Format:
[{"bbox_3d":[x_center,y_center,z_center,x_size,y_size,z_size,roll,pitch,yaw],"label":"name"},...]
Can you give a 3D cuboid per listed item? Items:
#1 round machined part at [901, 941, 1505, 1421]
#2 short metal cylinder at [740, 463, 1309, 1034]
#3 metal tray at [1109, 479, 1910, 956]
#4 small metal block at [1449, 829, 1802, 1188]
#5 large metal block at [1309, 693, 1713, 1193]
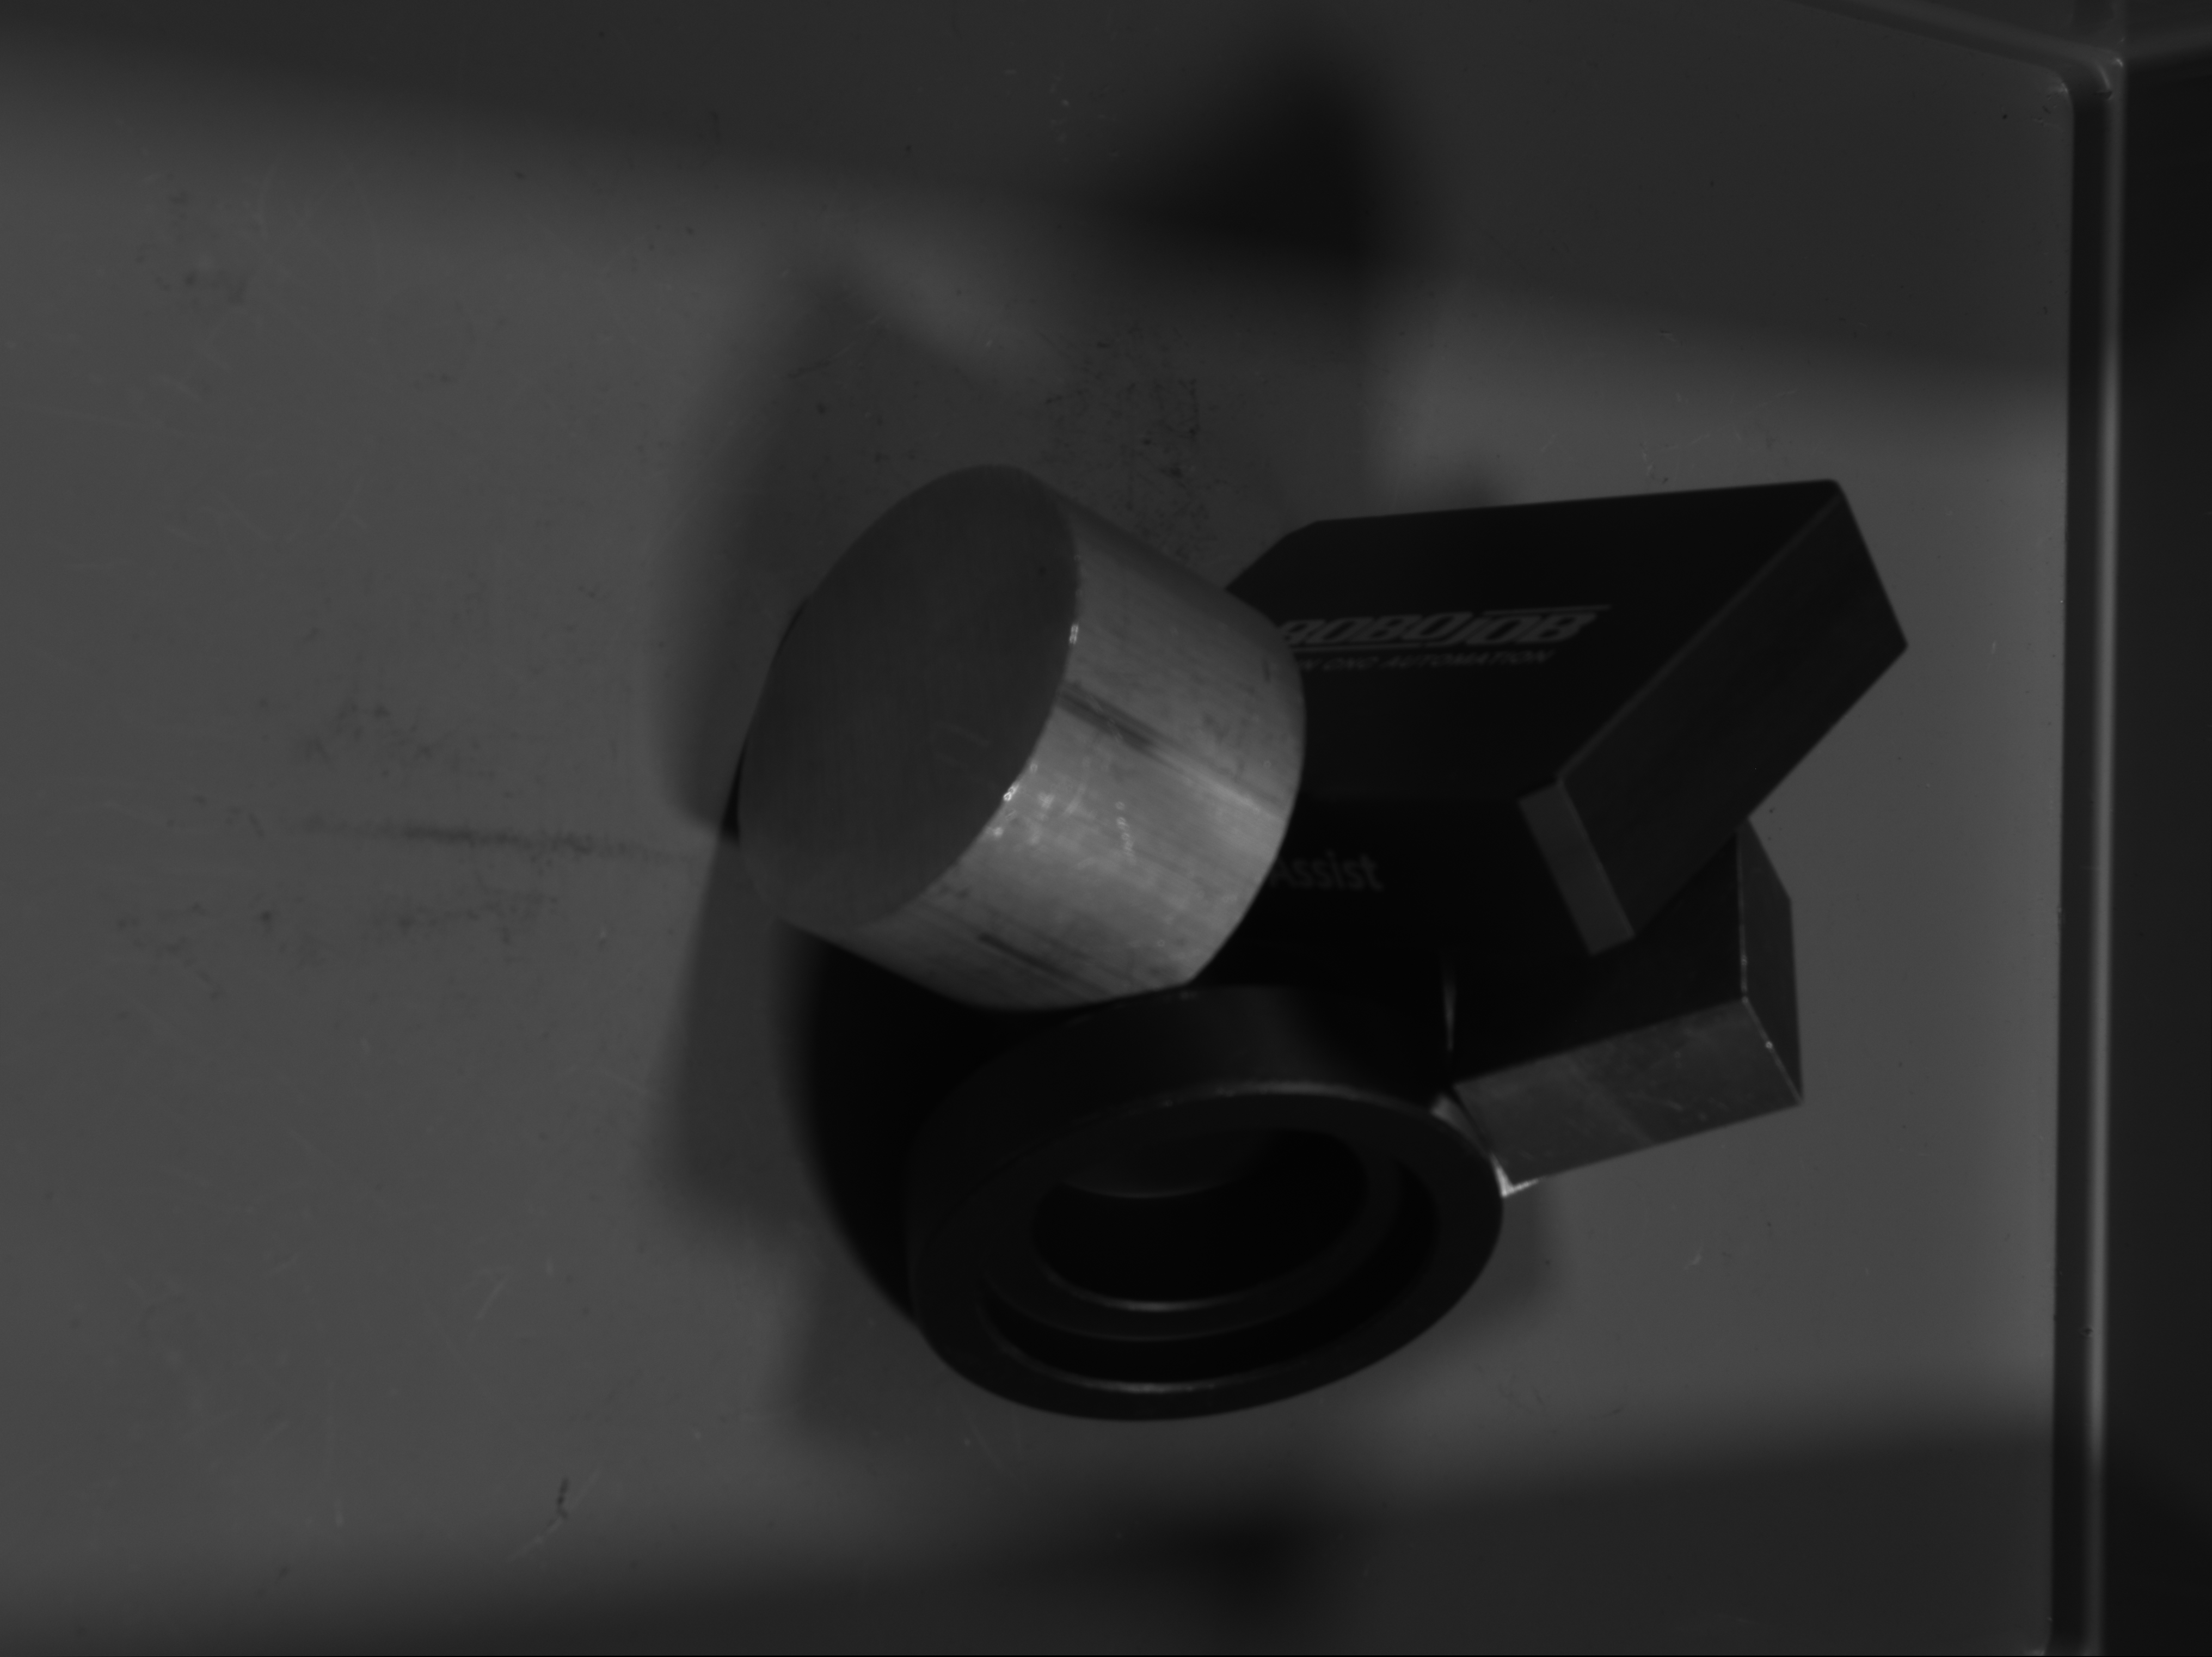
[{"bbox_3d":[0.014,0.056,0.613,0.098,0.098,0.042,26,38,-37],"label":"round machined part"},{"bbox_3d":[-0.014,-0.012,0.589,0.050,0.080,0.080,28,72,-36],"label":"short metal cylinder"},{"bbox_3d":[0.057,-0.019,0.615,0.090,0.130,0.030,-43,117,-32],"label":"metal tray"},{"bbox_3d":[0.085,0.027,0.602,0.025,0.050,0.050,57,25,-32],"label":"small metal block"},{"bbox_3d":[0.070,0.017,0.668,0.080,0.050,0.080,-18,106,-38],"label":"large metal block"}]
